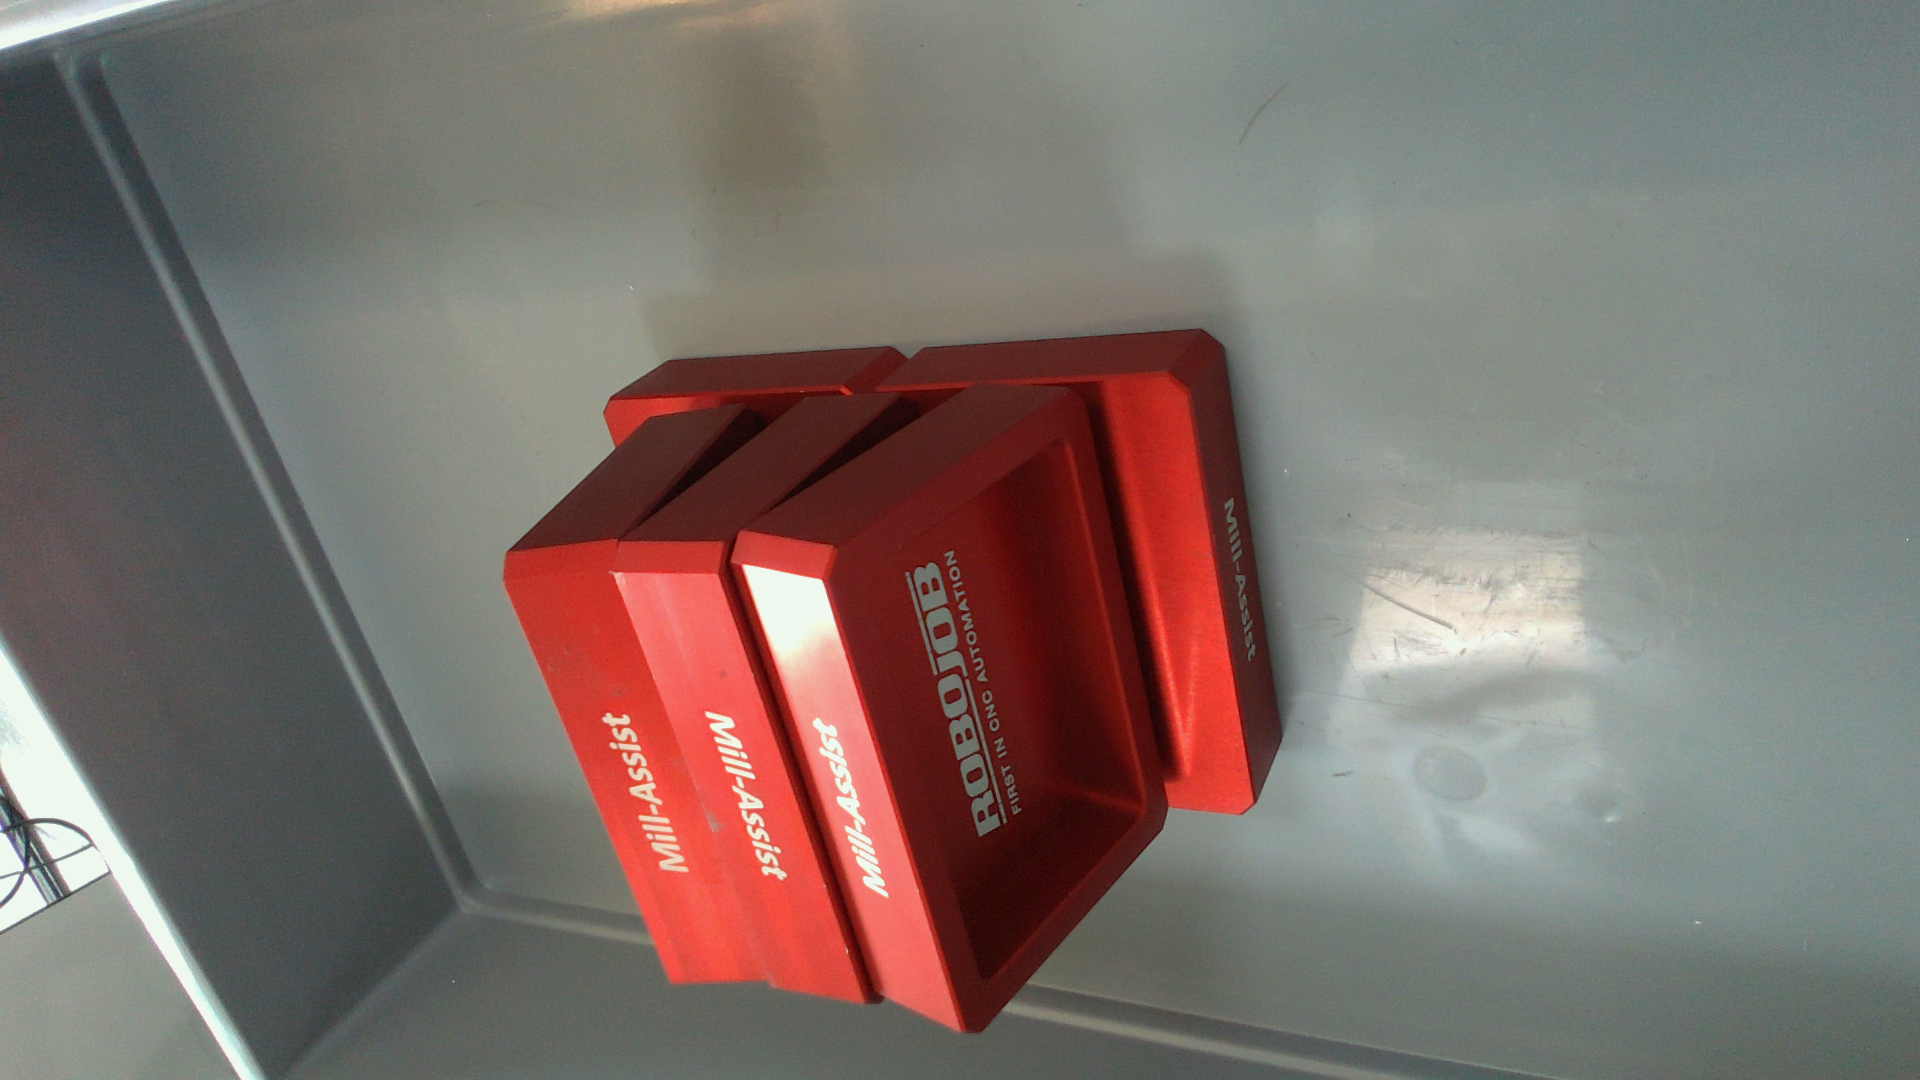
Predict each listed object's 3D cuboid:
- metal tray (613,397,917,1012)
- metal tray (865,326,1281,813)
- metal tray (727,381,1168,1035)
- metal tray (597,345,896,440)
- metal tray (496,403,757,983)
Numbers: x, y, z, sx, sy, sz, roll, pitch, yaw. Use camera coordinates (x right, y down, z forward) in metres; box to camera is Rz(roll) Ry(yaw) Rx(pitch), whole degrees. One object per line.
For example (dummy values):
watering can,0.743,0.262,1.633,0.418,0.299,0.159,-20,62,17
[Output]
metal tray,-0.030,0.040,0.350,0.030,0.090,0.130,0,116,29
metal tray,0.033,0.010,0.377,0.090,0.030,0.130,0,119,28
metal tray,0.004,0.038,0.329,0.030,0.090,0.130,9,124,41
metal tray,-0.048,0.009,0.418,0.090,0.030,0.130,0,119,28
metal tray,-0.067,0.040,0.367,0.030,0.090,0.130,-6,116,17
